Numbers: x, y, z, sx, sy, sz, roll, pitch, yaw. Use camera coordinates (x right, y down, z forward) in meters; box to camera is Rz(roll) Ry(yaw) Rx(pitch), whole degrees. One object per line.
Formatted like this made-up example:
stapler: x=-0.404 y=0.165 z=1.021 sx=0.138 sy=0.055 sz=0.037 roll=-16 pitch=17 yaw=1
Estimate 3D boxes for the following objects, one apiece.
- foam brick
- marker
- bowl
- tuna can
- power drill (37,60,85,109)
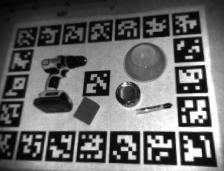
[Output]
foam brick: x=-0.086 y=0.093 z=0.749 sx=0.051 sy=0.053 sz=0.078 roll=22 pitch=78 yaw=18
marker: x=0.140 y=0.078 z=0.715 sx=0.120 sy=0.020 sz=0.019 roll=-12 pitch=70 yaw=7
bowl: x=0.110 y=-0.094 z=0.774 sx=0.161 sy=0.056 sz=0.161 roll=-6 pitch=63 yaw=13
tuna can: x=0.057 y=0.030 z=0.742 sx=0.085 sy=0.034 sz=0.085 roll=-3 pitch=71 yaw=9
power drill: x=-0.196 y=-0.009 z=0.802 sx=0.184 sy=0.058 sz=0.186 roll=-2 pitch=68 yaw=8
